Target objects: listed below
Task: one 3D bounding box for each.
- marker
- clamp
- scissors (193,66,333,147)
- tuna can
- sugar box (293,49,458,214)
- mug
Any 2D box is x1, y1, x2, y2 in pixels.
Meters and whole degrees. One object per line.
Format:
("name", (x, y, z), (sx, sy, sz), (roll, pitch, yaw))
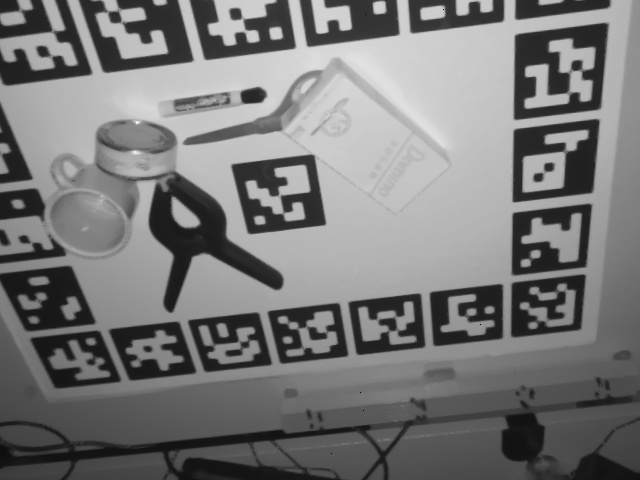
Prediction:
("marker", (-0.097, -0.163, 0.753), (0.121, 0.020, 0.019), (-9, 120, 4))
("clamp", (-0.145, -0.006, 0.849), (0.165, 0.037, 0.202), (-15, 119, 9))
("scissors", (-0.046, -0.131, 0.770), (0.202, 0.016, 0.087), (-14, 124, 10))
("tuna can", (-0.194, -0.106, 0.747), (0.086, 0.086, 0.033), (9, 121, -6))
("sugar box", (0.062, -0.114, 0.763), (0.092, 0.045, 0.177), (-39, 120, 21))
("mug", (-0.247, -0.058, 0.781), (0.092, 0.082, 0.117), (-30, 120, 17))
